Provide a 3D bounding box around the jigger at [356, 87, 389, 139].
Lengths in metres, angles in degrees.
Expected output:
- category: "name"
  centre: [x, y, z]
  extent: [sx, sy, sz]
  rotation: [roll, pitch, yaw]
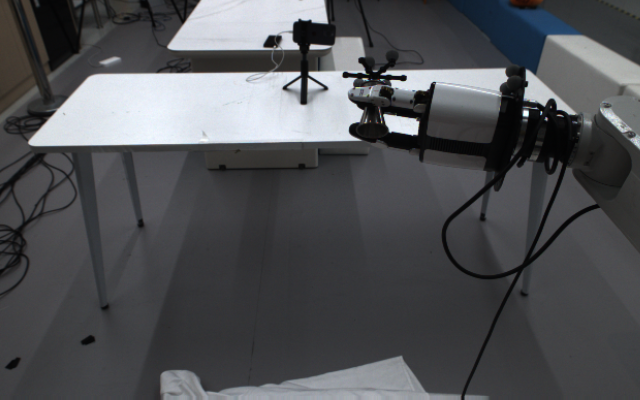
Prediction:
- category: "jigger"
  centre: [0.070, -0.125, 0.662]
  extent: [0.043, 0.043, 0.071]
  rotation: [4, 71, 3]
